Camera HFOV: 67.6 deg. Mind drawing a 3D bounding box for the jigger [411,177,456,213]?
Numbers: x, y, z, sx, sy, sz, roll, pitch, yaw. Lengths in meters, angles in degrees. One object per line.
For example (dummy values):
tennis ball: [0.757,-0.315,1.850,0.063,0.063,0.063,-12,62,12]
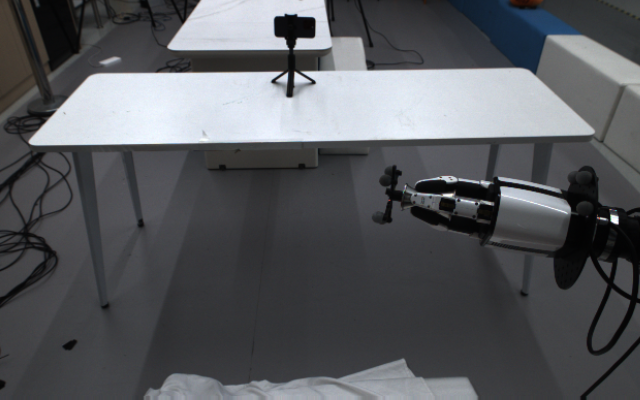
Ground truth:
jigger: [0.154,-0.003,0.664,0.071,0.043,0.043,10,35,16]
